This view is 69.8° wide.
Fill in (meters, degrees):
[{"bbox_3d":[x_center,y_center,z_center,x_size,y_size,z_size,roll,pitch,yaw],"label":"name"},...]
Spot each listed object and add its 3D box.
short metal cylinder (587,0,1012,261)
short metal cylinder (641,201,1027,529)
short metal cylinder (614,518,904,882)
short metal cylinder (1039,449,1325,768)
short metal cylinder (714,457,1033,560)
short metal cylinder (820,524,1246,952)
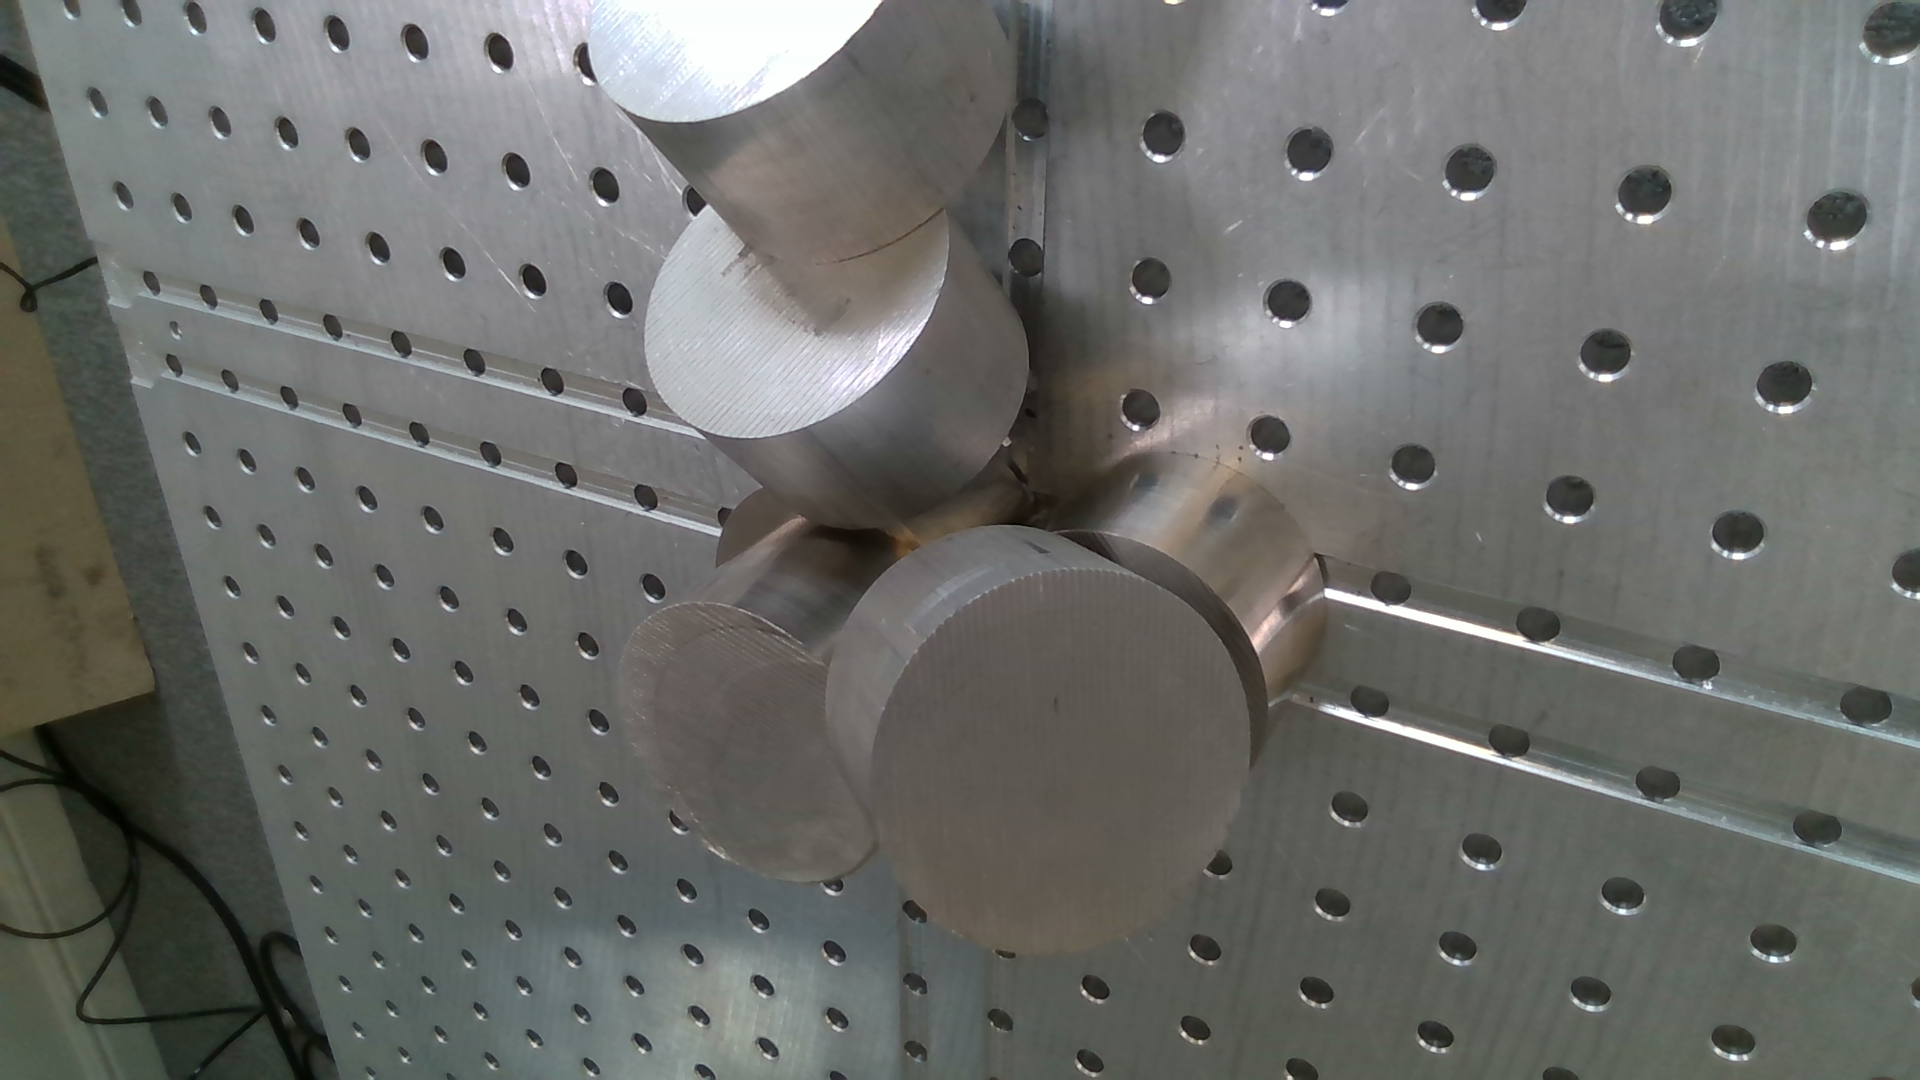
[{"bbox_3d":[-0.035,-0.111,0.308,0.080,0.080,0.050,7,161,29],"label":"short metal cylinder"},{"bbox_3d":[-0.030,-0.049,0.338,0.080,0.080,0.050,8,160,28],"label":"short metal cylinder"},{"bbox_3d":[-0.041,0.040,0.356,0.080,0.050,0.080,14,122,25],"label":"short metal cylinder"},{"bbox_3d":[0.049,0.023,0.358,0.080,0.050,0.080,14,122,25],"label":"short metal cylinder"},{"bbox_3d":[-0.023,0.009,0.394,0.080,0.050,0.080,14,122,25],"label":"short metal cylinder"},{"bbox_3d":[0.014,0.040,0.296,0.080,0.080,0.050,68,170,-16],"label":"short metal cylinder"}]
